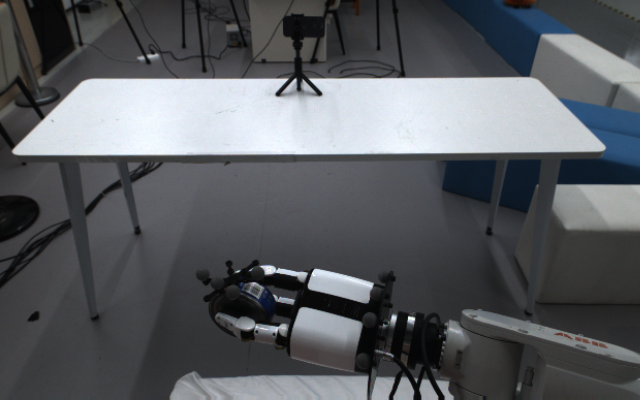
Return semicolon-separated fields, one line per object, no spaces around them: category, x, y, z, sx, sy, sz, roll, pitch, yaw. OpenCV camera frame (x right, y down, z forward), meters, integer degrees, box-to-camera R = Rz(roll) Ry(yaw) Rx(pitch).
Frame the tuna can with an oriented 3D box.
tuna can;-0.099;0.149;0.642;0.085;0.085;0.034;10;33;11
